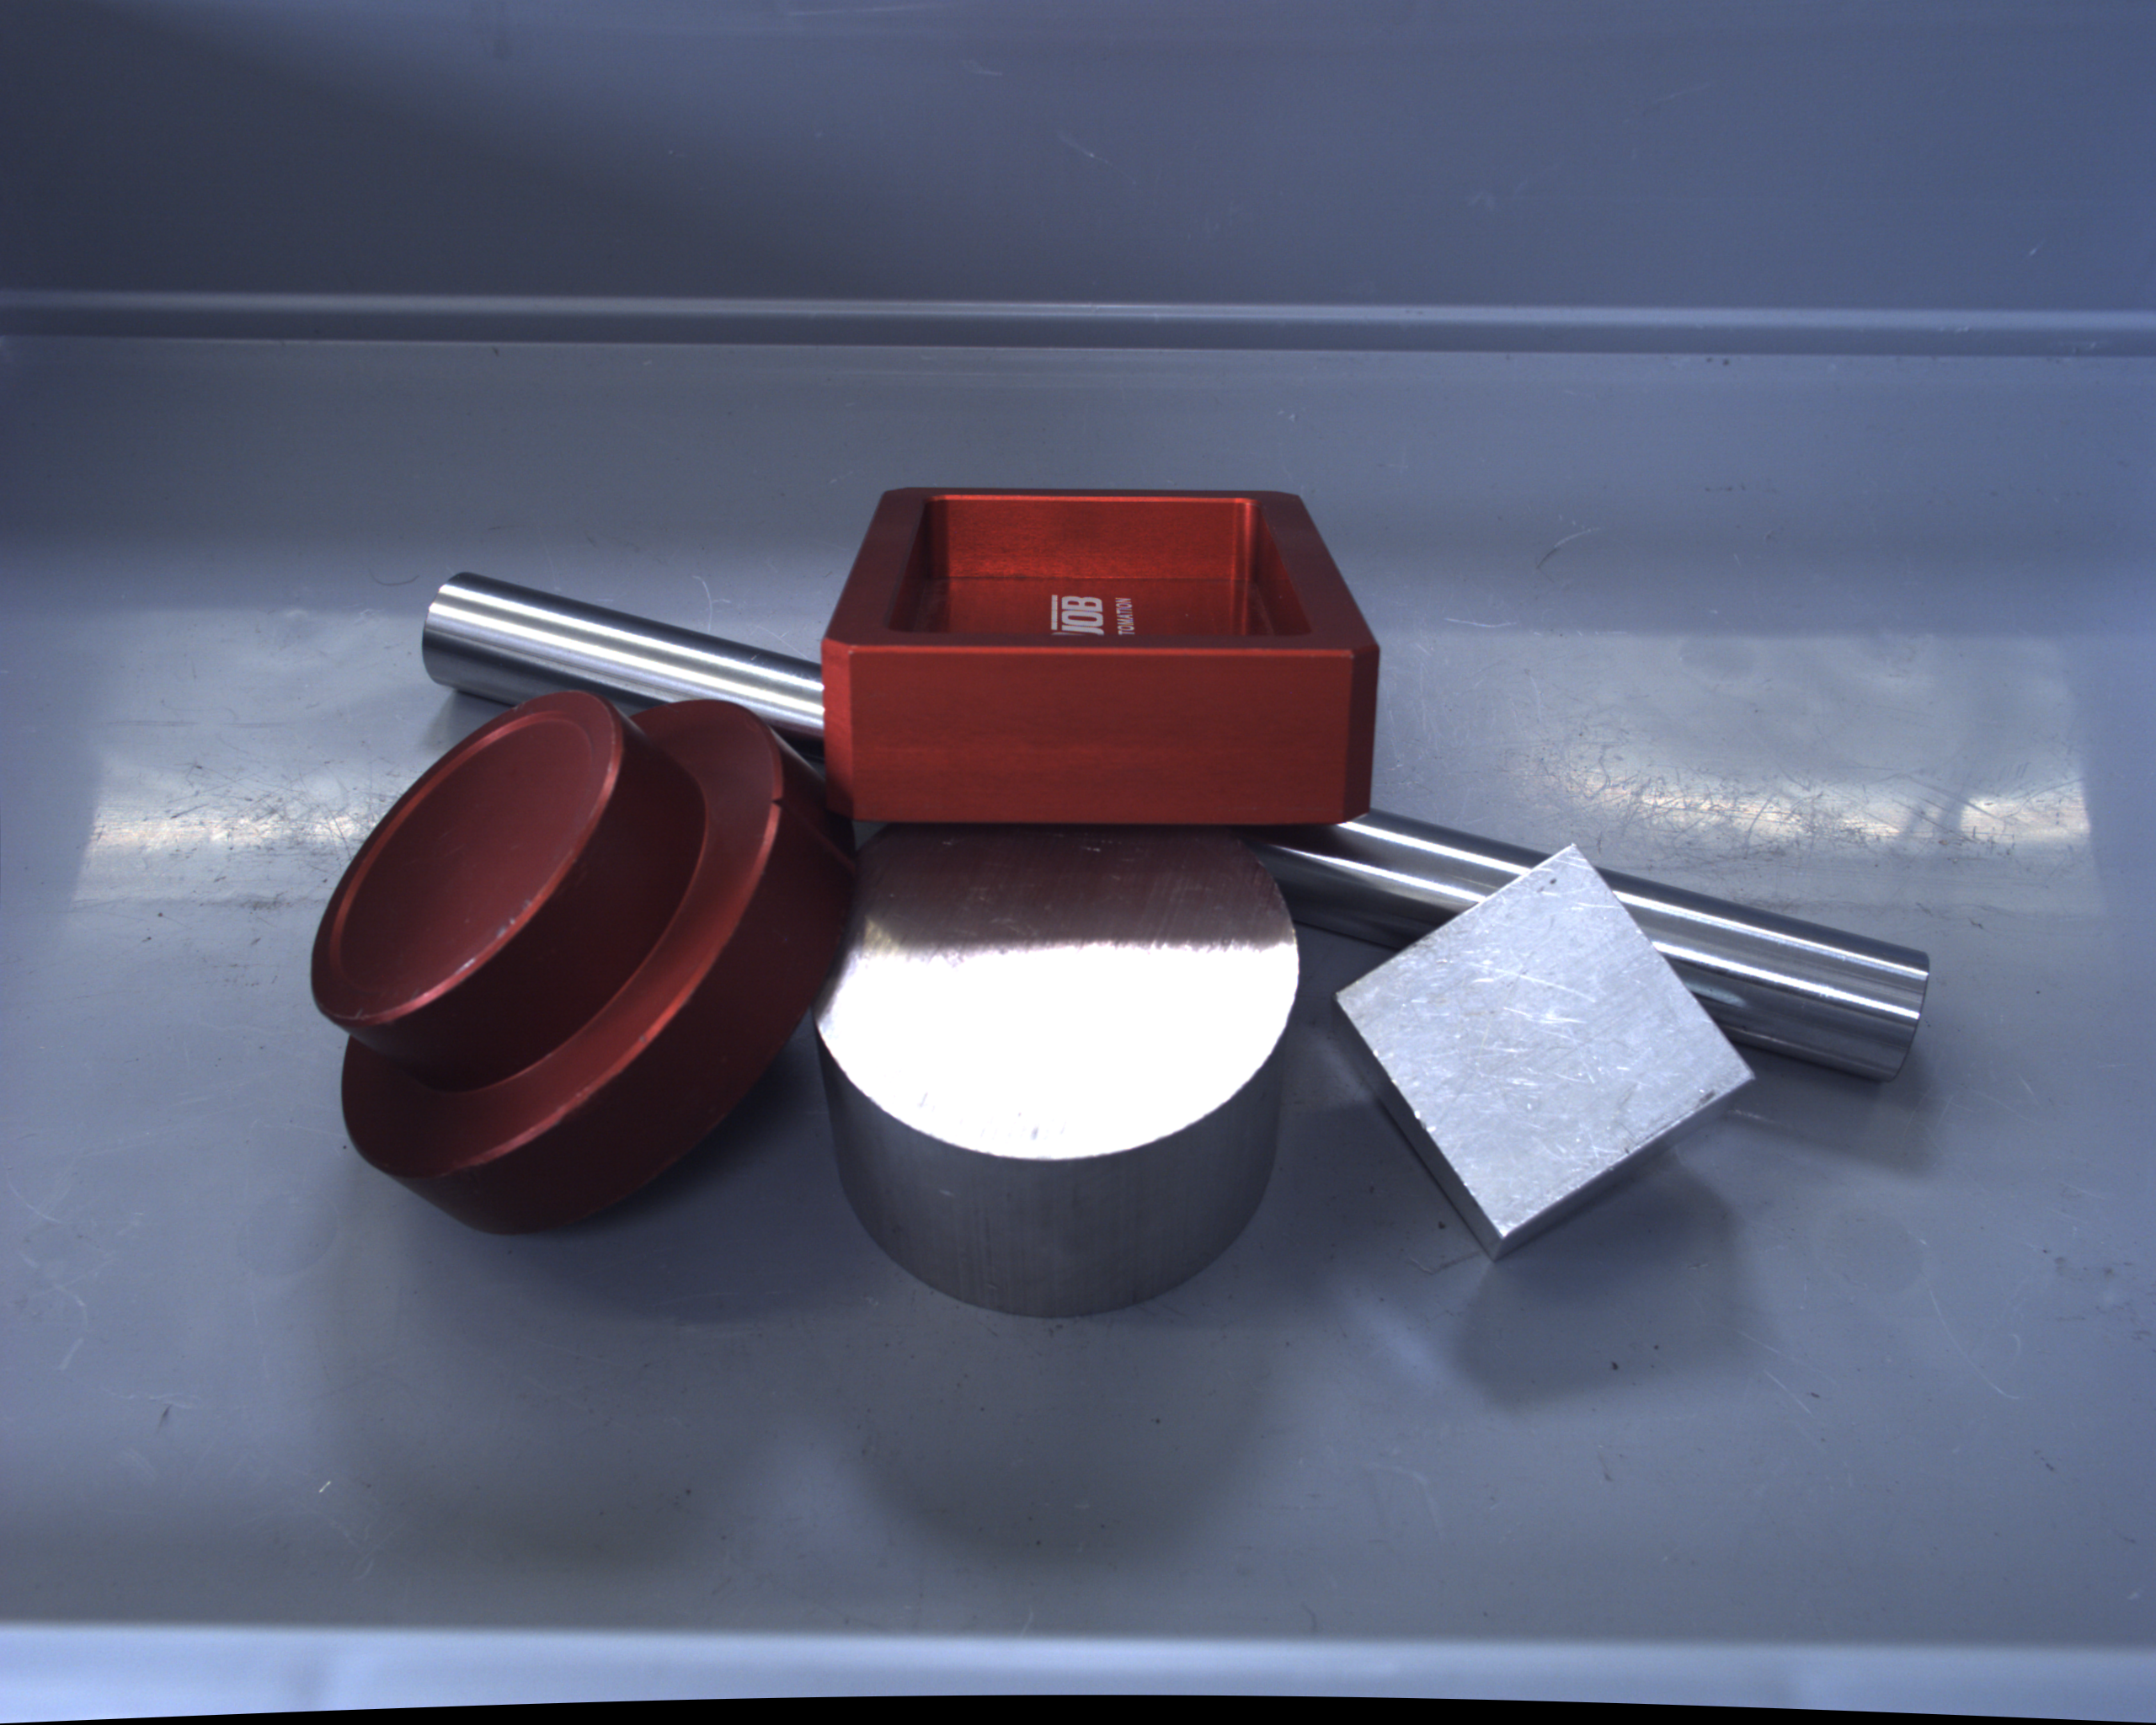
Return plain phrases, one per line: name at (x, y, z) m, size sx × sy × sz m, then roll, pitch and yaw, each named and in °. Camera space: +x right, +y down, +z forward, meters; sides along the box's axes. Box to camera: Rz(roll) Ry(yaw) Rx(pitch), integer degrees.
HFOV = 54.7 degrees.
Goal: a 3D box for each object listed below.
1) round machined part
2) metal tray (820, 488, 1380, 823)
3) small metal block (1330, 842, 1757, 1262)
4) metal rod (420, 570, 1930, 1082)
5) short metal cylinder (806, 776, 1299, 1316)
round machined part at (-0.089, 0.010, 0.352) m, size 0.098 × 0.042 × 0.098 m, roll -24°, pitch 40°, yaw 22°
metal tray at (0.003, -0.044, 0.398) m, size 0.091 × 0.030 × 0.130 m, roll 0°, pitch 21°, yaw -1°
small metal block at (0.079, 0.033, 0.361) m, size 0.050 × 0.025 × 0.050 m, roll -32°, pitch 72°, yaw -5°
metal rod at (0.009, -0.011, 0.412) m, size 0.301 × 0.025 × 0.025 m, roll 15°, pitch 52°, yaw 12°
short metal cylinder at (-0.004, 0.031, 0.361) m, size 0.081 × 0.050 × 0.080 m, roll 0°, pitch 50°, yaw 0°
